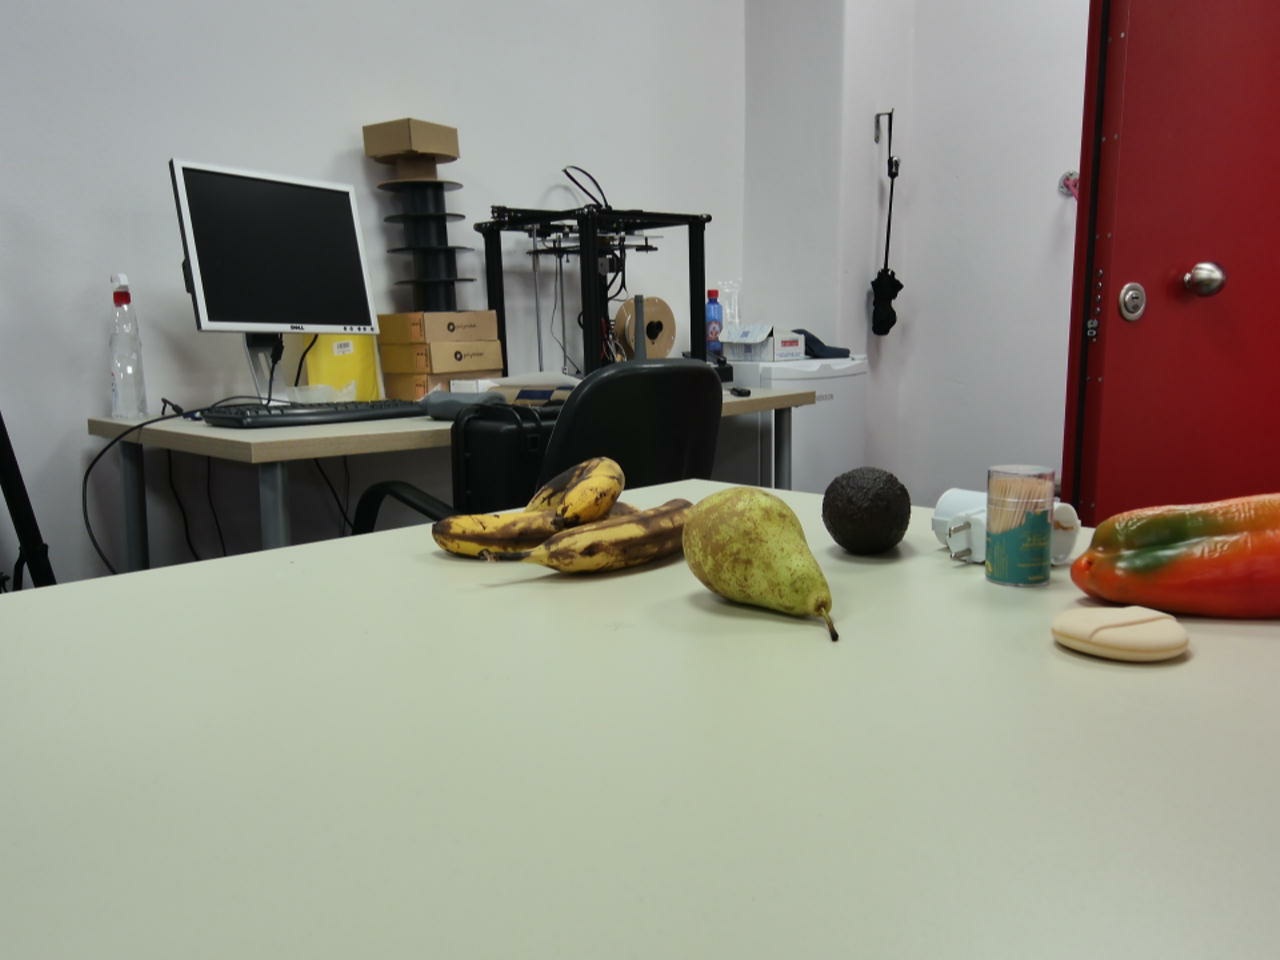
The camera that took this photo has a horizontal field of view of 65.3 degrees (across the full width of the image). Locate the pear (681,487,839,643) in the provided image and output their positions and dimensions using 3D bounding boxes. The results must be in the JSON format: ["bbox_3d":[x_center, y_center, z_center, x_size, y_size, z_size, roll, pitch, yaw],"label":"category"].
[{"bbox_3d":[0.081,0.044,0.611,0.128,0.075,0.071,6,8,38],"label":"pear"}]
